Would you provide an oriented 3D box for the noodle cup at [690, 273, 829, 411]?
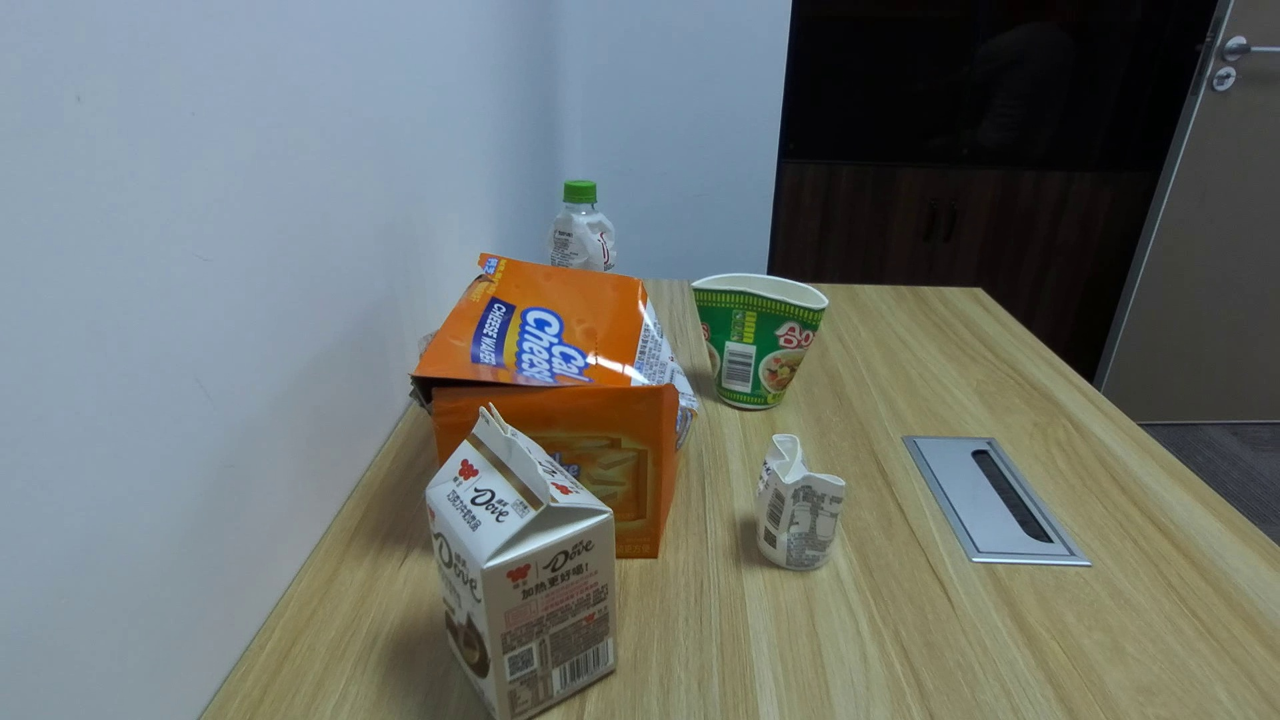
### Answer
[{"bbox_3d":[0.108,-0.017,0.657,0.070,0.111,0.114,-24,36,-39],"label":"noodle cup"}]

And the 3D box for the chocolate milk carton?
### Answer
[{"bbox_3d":[-0.061,0.100,0.368,0.074,0.148,0.075,-17,30,-31],"label":"chocolate milk carton"}]

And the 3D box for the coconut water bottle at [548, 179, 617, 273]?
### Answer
[{"bbox_3d":[-0.055,-0.080,0.696,0.067,0.187,0.067,0,20,0],"label":"coconut water bottle"}]

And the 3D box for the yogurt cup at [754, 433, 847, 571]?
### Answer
[{"bbox_3d":[0.105,0.095,0.471,0.055,0.072,0.055,2,27,8],"label":"yogurt cup"}]

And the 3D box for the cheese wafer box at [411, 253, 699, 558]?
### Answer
[{"bbox_3d":[-0.049,0.021,0.541,0.191,0.145,0.218,0,26,-1],"label":"cheese wafer box"}]
